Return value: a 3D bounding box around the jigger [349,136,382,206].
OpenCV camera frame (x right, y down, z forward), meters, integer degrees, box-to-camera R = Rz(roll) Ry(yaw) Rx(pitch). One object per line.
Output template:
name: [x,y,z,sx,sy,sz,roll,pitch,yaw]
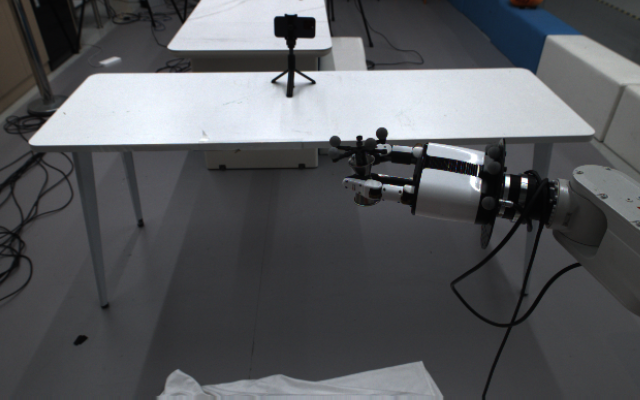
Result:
jigger: [0.067,-0.030,0.729,0.043,0.071,0.043,-10,32,6]
